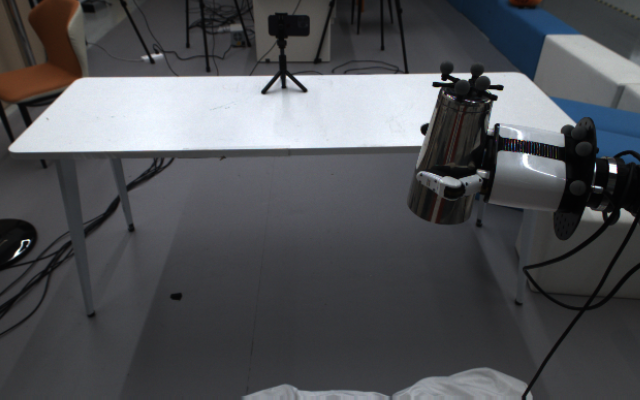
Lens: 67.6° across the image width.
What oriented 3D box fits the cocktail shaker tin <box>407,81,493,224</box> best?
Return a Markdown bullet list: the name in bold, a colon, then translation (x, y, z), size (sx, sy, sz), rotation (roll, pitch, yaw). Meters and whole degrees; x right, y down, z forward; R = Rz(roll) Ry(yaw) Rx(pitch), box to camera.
- **cocktail shaker tin**: translation (0.177, -0.064, 0.646), size (0.093, 0.170, 0.093), rotation (3, 34, -2)
